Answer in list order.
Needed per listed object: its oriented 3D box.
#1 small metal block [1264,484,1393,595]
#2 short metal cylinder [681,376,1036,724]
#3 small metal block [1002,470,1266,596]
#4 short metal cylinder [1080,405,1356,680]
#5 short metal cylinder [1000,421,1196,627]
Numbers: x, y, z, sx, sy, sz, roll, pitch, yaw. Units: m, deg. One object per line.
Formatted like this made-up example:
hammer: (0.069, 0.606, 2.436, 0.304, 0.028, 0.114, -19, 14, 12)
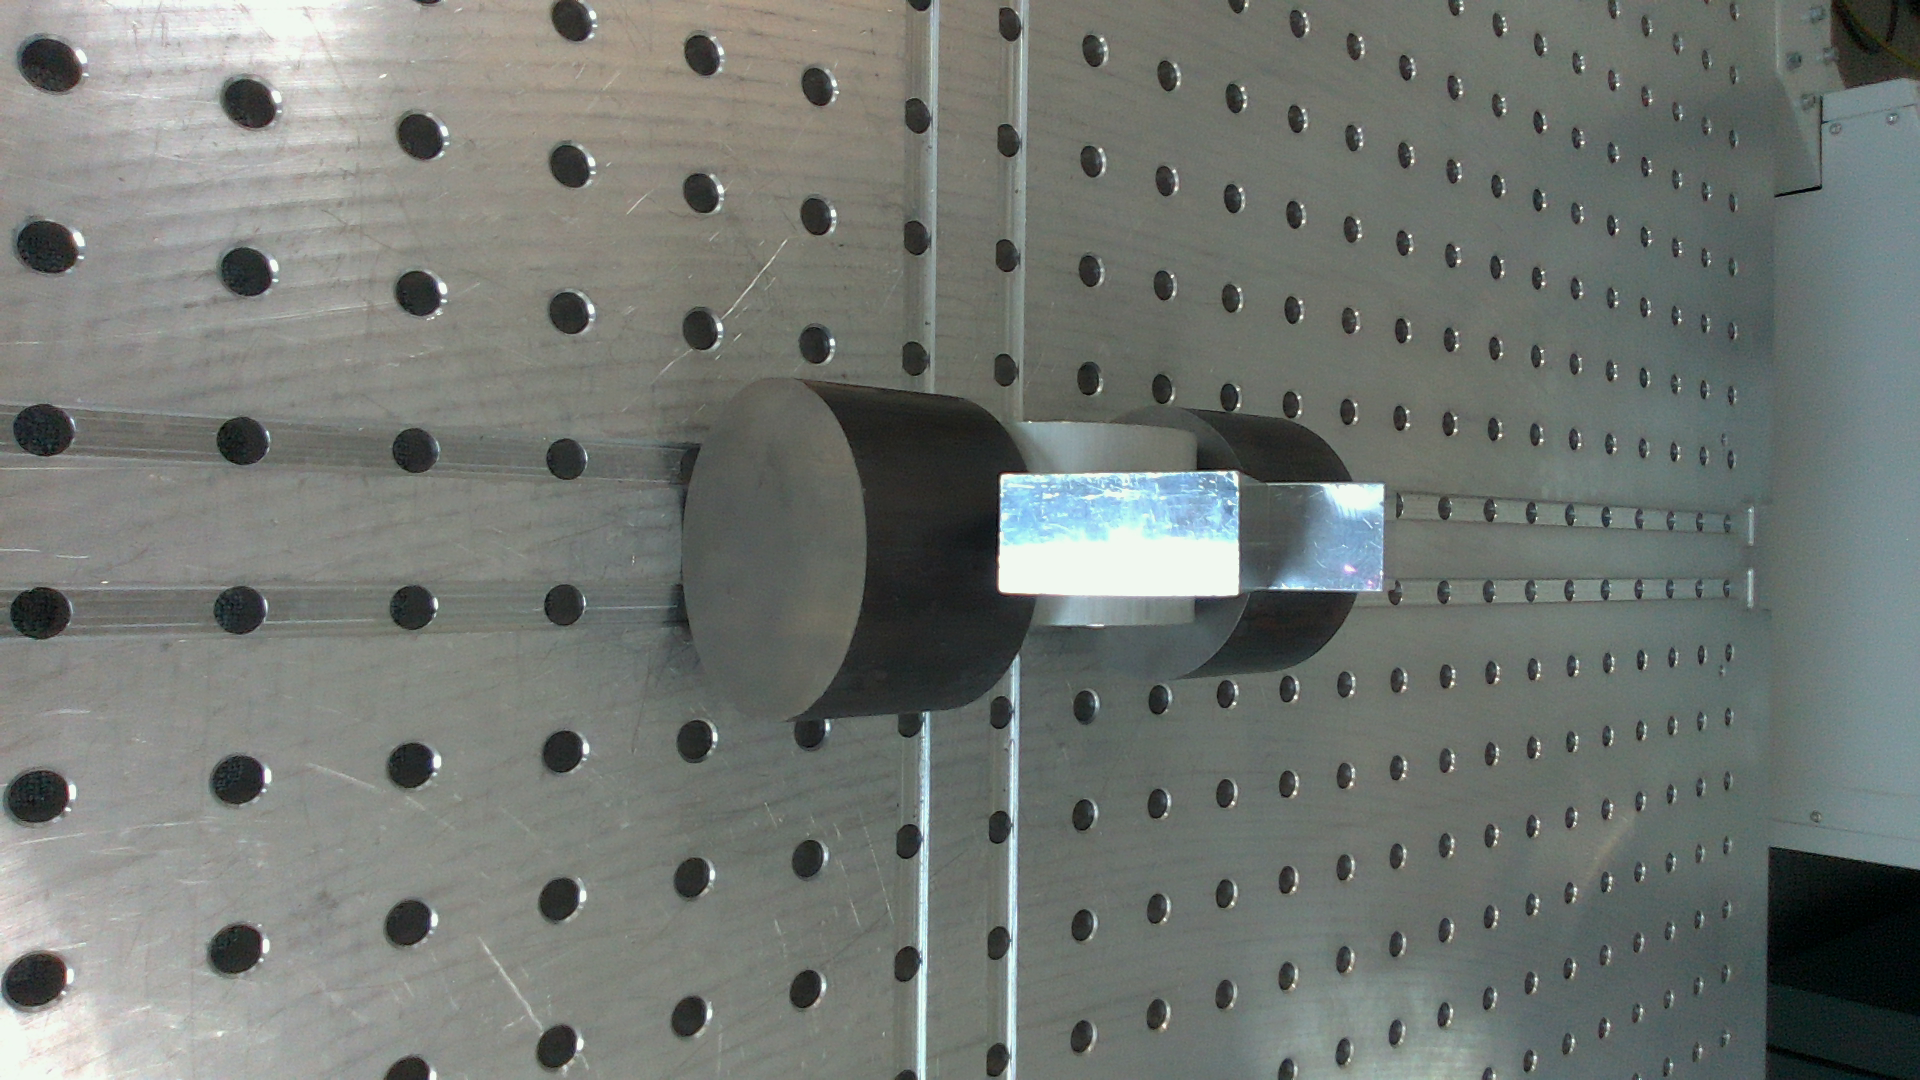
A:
small metal block: (0.081, 0.000, 0.343, 0.050, 0.050, 0.025, 2, 89, -70)
short metal cylinder: (-0.026, 0.003, 0.334, 0.050, 0.080, 0.080, 2, 89, -40)
small metal block: (0.041, -0.001, 0.304, 0.050, 0.050, 0.025, 2, 89, -71)
short metal cylinder: (0.074, 0.001, 0.417, 0.050, 0.080, 0.080, 1, 89, -39)
short metal cylinder: (0.024, -0.004, 0.376, 0.080, 0.080, 0.050, 1, 89, -40)
